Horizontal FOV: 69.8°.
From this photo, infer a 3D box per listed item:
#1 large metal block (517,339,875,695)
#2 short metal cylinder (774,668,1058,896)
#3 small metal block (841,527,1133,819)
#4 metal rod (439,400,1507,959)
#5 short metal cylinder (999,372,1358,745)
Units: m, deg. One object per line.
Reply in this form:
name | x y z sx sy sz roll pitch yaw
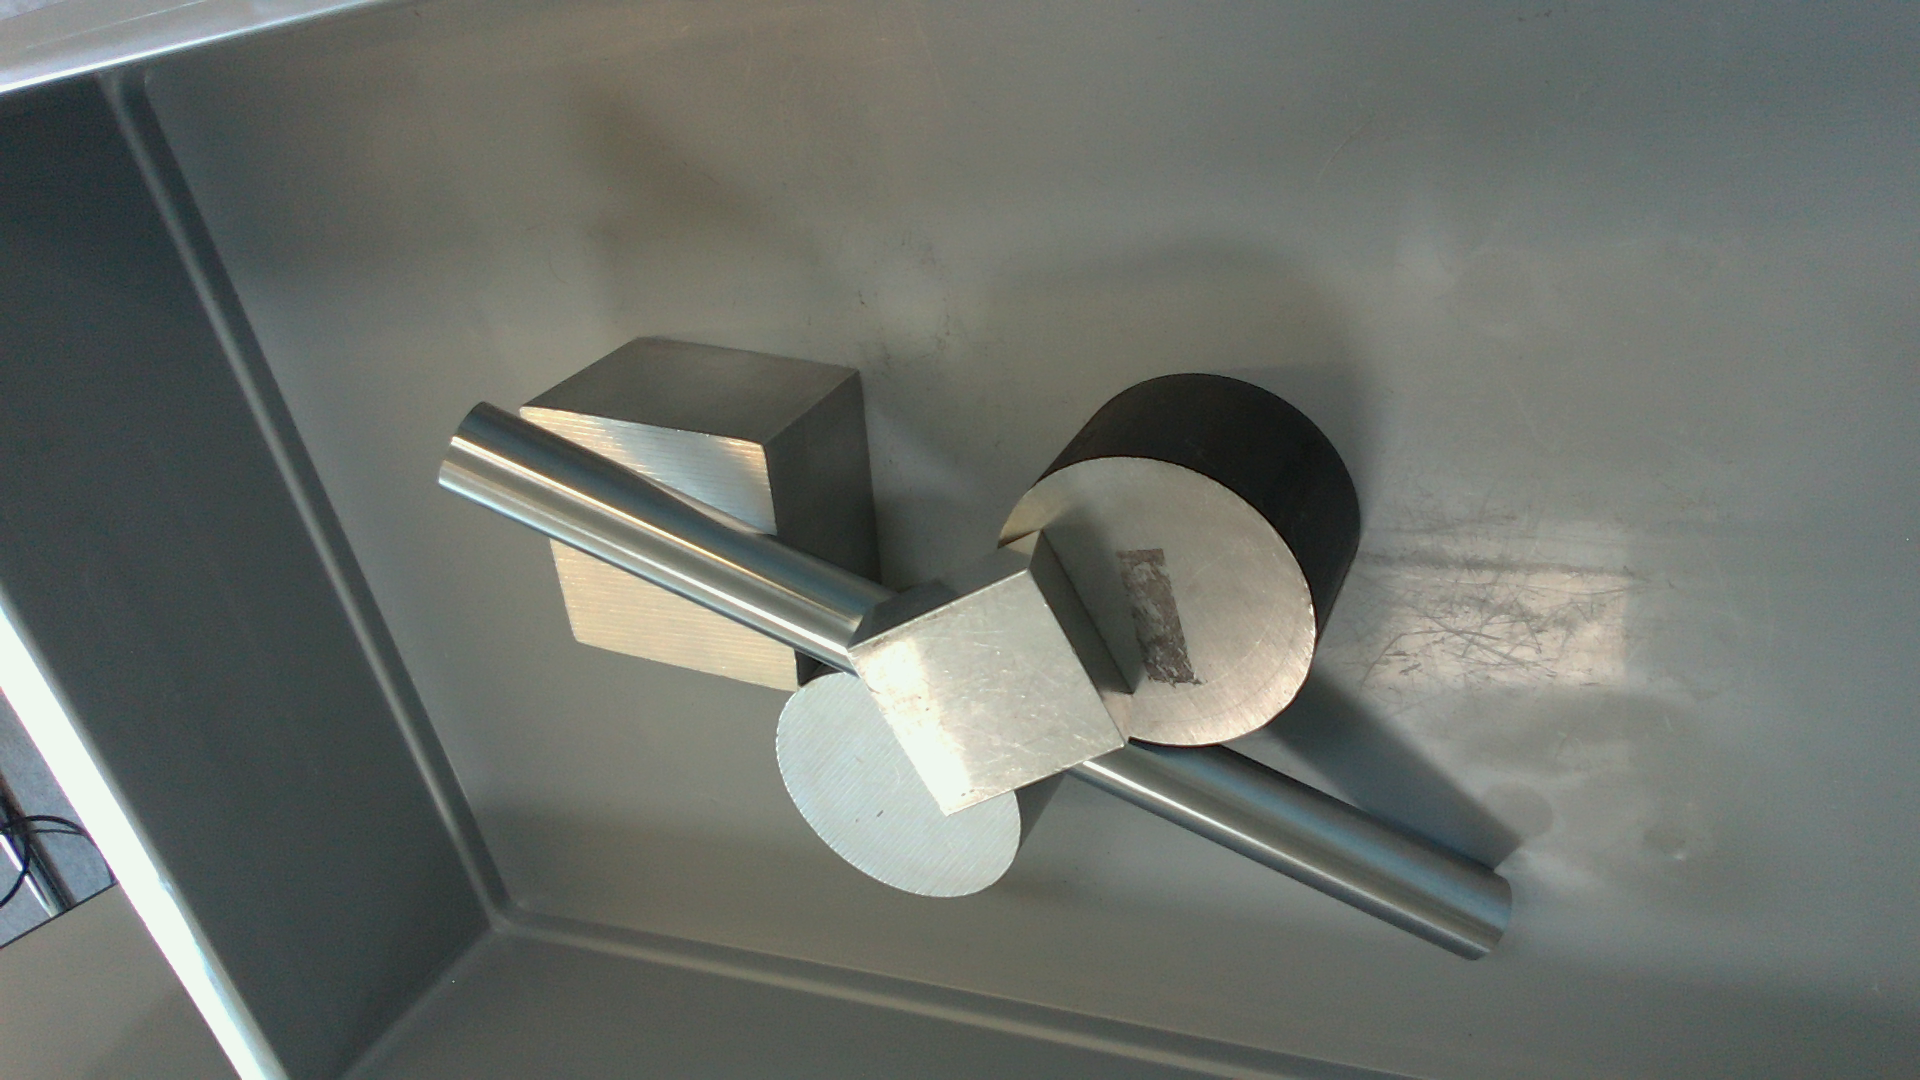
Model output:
large metal block | -0.074 -0.009 0.407 0.080 0.050 0.080 10 123 23
short metal cylinder | -0.009 0.060 0.417 0.080 0.050 0.080 13 124 21
small metal block | 0.008 0.033 0.334 0.050 0.025 0.050 -25 105 18
metal rod | 0.008 0.040 0.366 0.300 0.025 0.025 25 129 -6
short metal cylinder | 0.055 0.004 0.348 0.080 0.050 0.080 13 124 21
